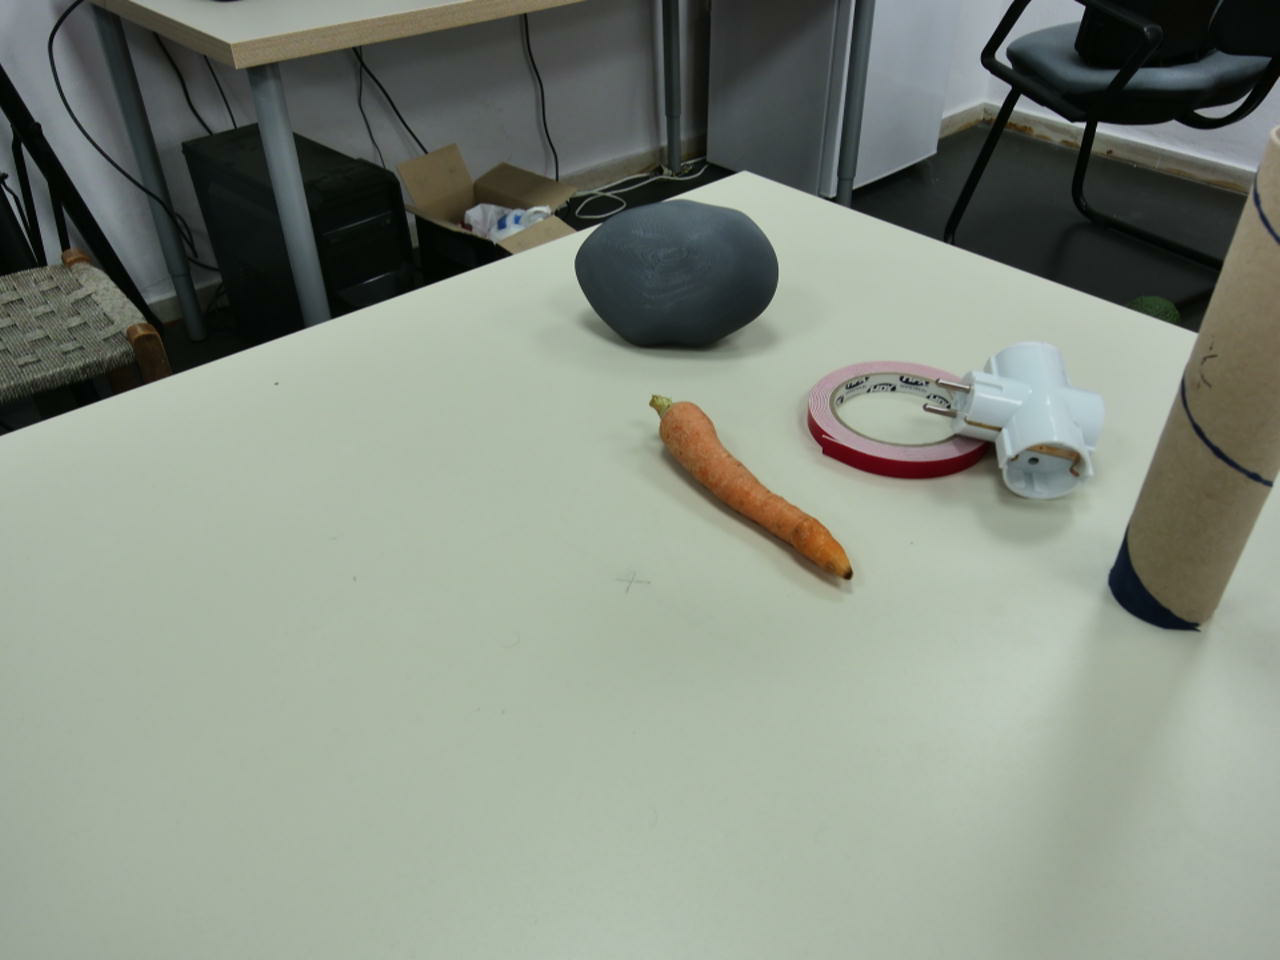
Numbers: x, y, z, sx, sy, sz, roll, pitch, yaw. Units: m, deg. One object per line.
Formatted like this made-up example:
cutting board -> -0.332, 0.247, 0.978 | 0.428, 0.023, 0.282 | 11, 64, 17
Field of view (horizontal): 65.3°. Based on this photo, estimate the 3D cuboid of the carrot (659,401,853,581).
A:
carrot -> 0.056, 0.000, 0.549 | 0.030, 0.032, 0.173 | -20, 40, -24
